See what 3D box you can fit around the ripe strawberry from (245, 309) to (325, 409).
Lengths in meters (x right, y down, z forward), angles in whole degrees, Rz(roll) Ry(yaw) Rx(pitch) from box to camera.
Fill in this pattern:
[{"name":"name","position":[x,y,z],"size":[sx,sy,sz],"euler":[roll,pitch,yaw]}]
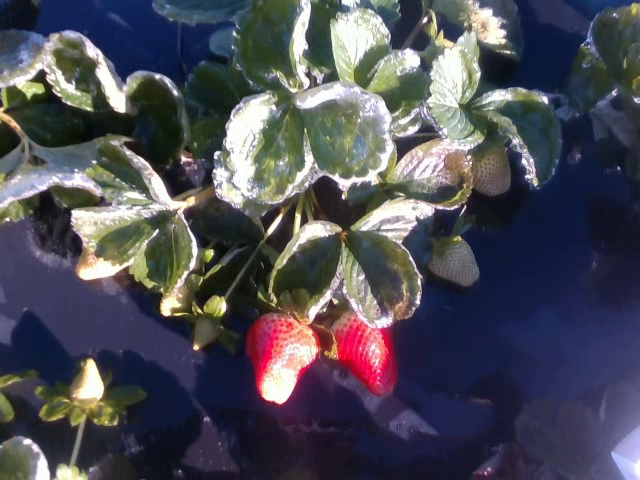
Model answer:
[{"name":"ripe strawberry","position":[-0.022,0.083,0.439],"size":[0.052,0.070,0.040],"euler":[14,-8,-18]}]

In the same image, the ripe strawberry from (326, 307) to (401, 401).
[{"name":"ripe strawberry","position":[0.032,0.076,0.439],"size":[0.043,0.059,0.040],"euler":[-34,2,-8]}]
